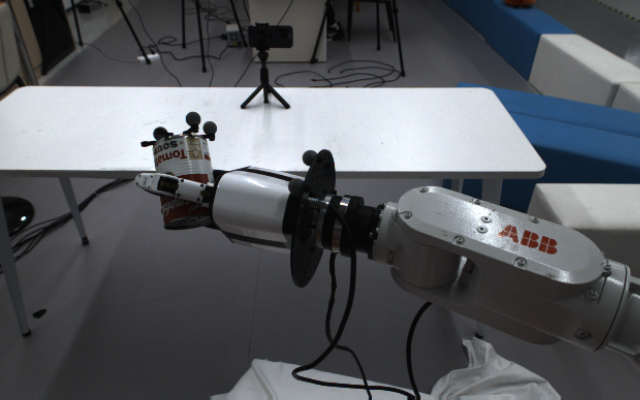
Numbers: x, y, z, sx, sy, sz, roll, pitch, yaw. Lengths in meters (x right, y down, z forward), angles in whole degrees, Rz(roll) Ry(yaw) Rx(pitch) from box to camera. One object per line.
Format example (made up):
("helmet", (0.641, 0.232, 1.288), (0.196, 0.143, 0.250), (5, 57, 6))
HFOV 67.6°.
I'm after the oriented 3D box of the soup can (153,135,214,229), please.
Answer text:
("soup can", (-0.160, -0.020, 0.587), (0.067, 0.067, 0.101), (-10, 80, -17))
